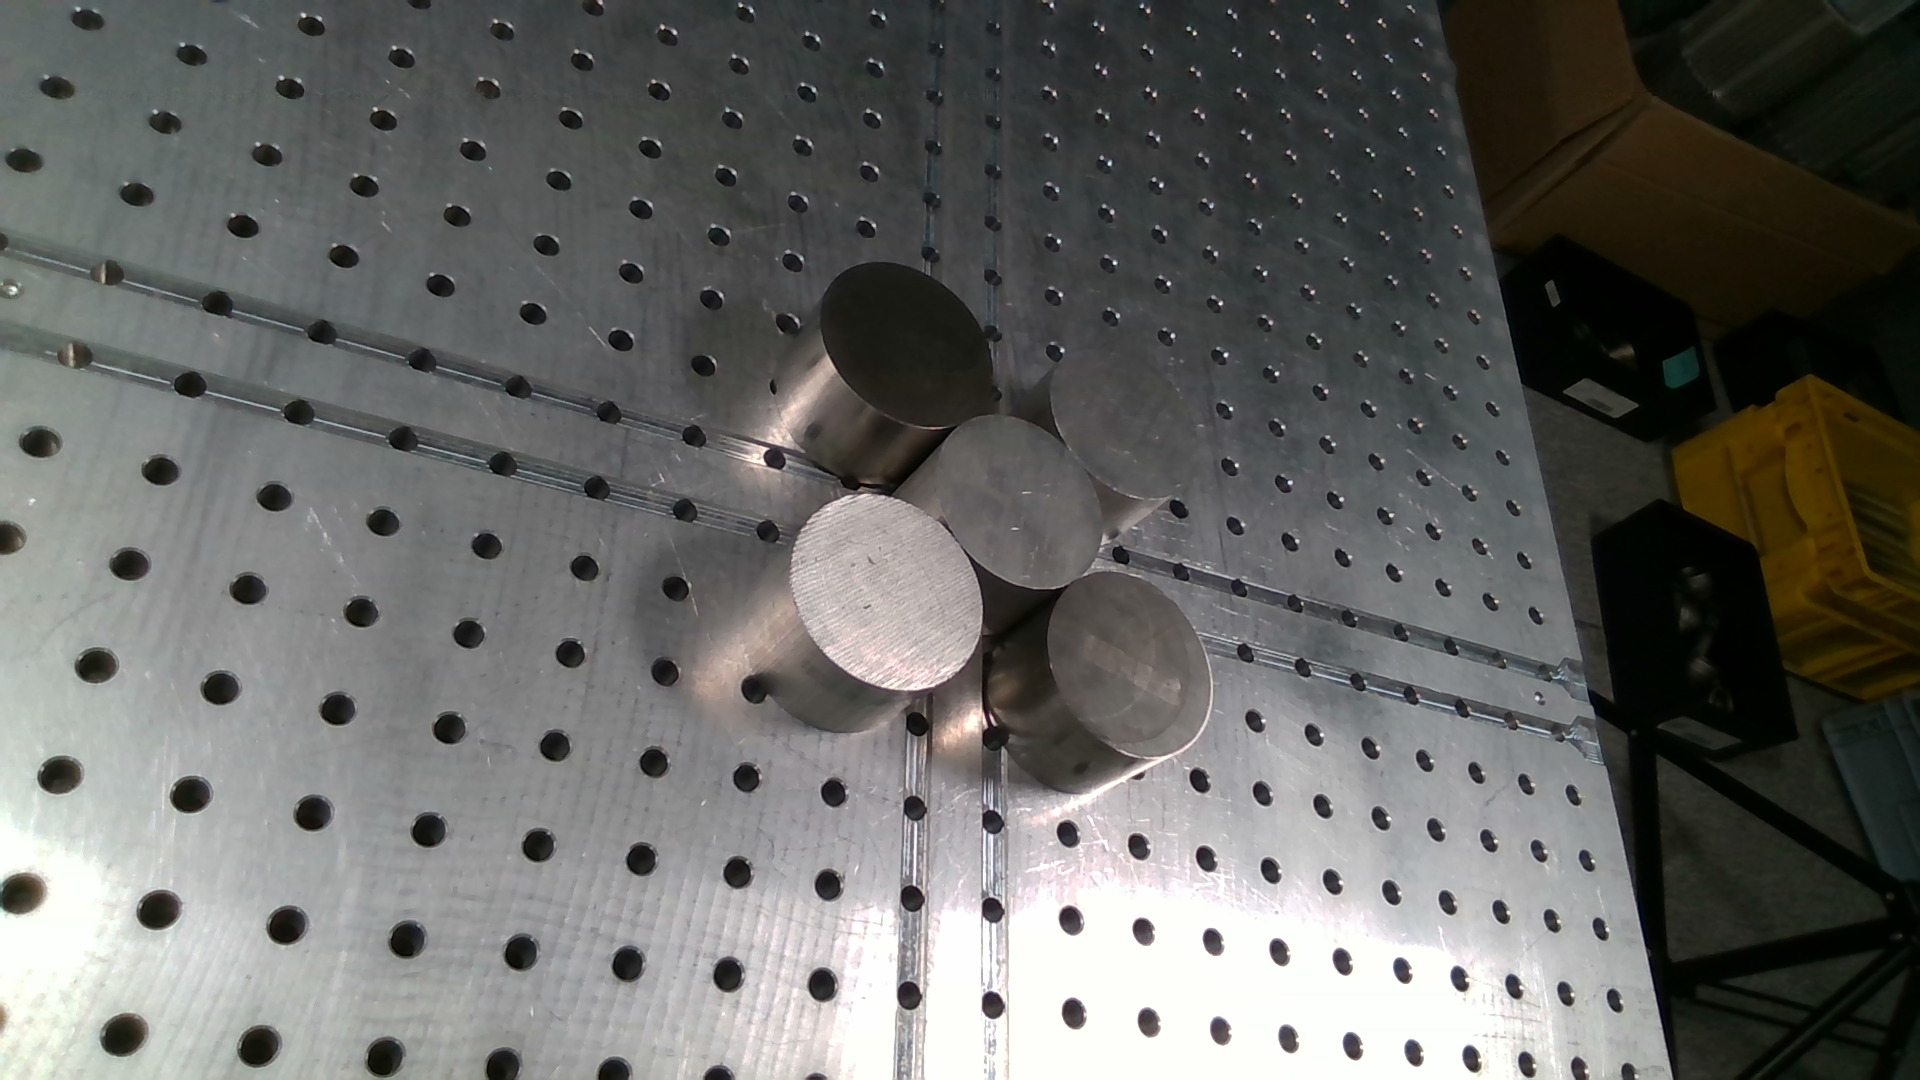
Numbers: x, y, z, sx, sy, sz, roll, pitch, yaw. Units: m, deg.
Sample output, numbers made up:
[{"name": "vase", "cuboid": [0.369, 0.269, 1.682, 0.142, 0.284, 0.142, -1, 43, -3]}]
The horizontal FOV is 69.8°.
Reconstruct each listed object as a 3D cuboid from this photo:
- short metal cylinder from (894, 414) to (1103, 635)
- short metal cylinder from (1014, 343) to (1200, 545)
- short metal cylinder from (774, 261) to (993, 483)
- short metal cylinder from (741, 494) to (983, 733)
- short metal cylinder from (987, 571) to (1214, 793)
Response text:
[{"name": "short metal cylinder", "cuboid": [0.013, -0.006, 0.584, 0.080, 0.050, 0.080, 14, 59, -25]}, {"name": "short metal cylinder", "cuboid": [0.063, -0.043, 0.634, 0.080, 0.050, 0.080, 14, 59, -25]}, {"name": "short metal cylinder", "cuboid": [-0.033, -0.071, 0.590, 0.080, 0.050, 0.080, 14, 59, -25]}, {"name": "short metal cylinder", "cuboid": [-0.038, 0.029, 0.533, 0.080, 0.050, 0.080, 14, 59, -25]}, {"name": "short metal cylinder", "cuboid": [0.058, 0.059, 0.574, 0.080, 0.050, 0.080, 14, 59, -25]}]
